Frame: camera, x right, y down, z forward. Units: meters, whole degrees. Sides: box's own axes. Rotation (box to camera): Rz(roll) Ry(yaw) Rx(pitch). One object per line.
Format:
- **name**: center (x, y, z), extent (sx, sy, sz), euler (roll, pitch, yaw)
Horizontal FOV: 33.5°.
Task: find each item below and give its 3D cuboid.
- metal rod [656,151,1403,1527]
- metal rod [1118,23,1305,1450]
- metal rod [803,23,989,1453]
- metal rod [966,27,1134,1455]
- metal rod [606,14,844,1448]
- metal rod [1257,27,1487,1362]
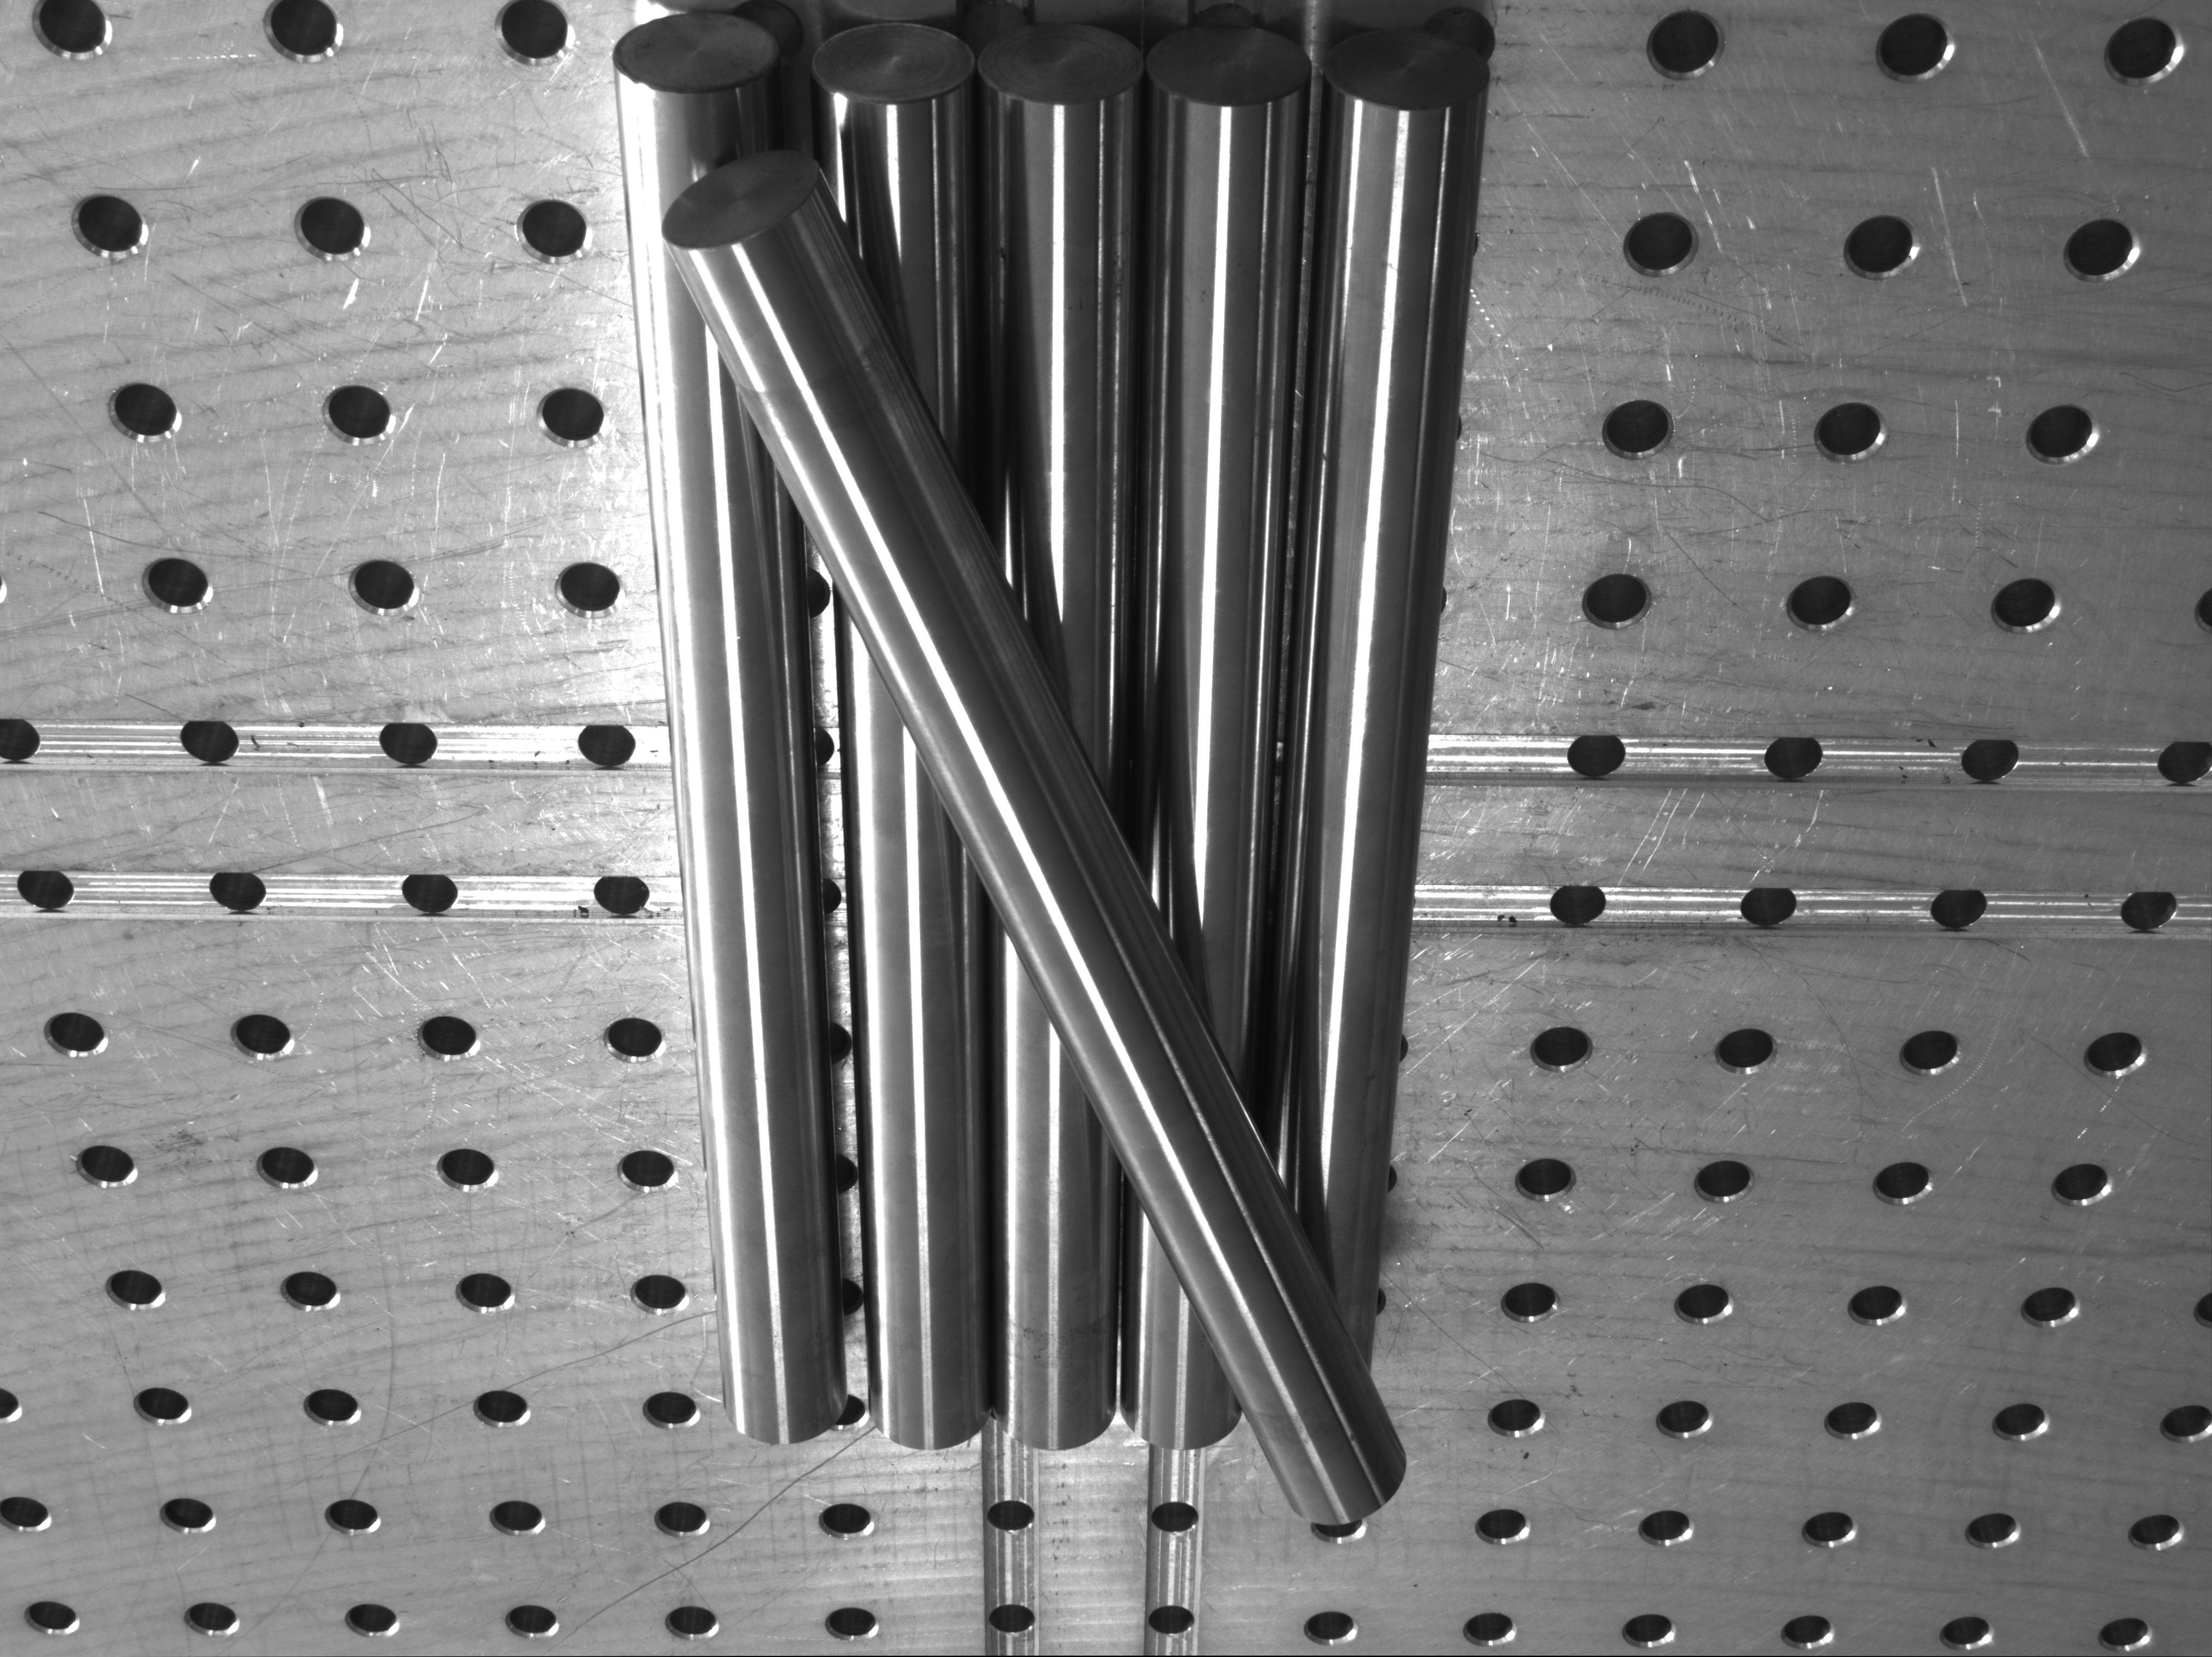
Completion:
- **metal rod**: center (-0.004, 0.017, 0.625), extent (0.025, 0.025, 0.301), euler (-15, 128, 12)
- **metal rod**: center (0.016, 0.001, 0.644), extent (0.025, 0.025, 0.300), euler (0, 130, 0)
- **metal rod**: center (-0.034, 0.001, 0.642), extent (0.025, 0.025, 0.300), euler (0, 130, 0)
- **metal rod**: center (-0.010, 0.002, 0.643), extent (0.025, 0.025, 0.300), euler (0, 130, 0)
- **metal rod**: center (-0.063, 0.000, 0.641), extent (0.025, 0.025, 0.300), euler (1, 130, 0)
- **metal rod**: center (0.042, 0.001, 0.645), extent (0.025, 0.025, 0.300), euler (1, 130, -1)
